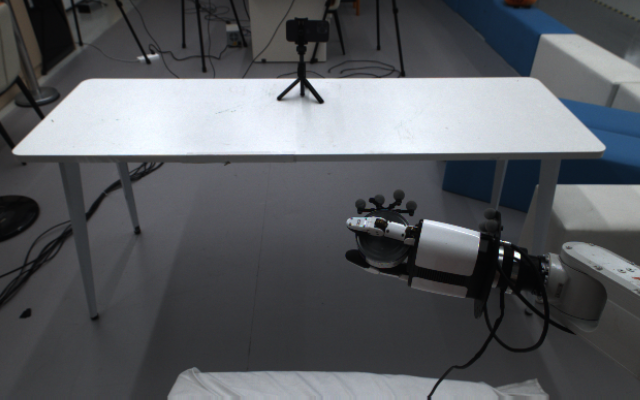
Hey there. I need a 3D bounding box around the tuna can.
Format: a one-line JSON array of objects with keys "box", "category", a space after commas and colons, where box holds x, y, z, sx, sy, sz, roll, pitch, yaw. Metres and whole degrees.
[{"box": [0.099, 0.064, 0.736, 0.085, 0.034, 0.085, -4, 62, 7], "category": "tuna can"}]
